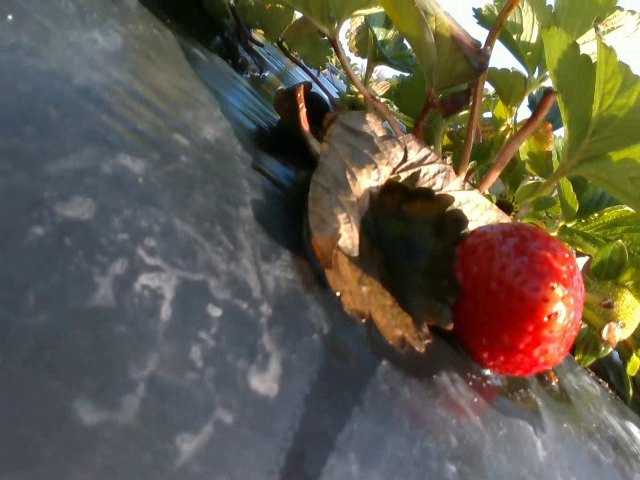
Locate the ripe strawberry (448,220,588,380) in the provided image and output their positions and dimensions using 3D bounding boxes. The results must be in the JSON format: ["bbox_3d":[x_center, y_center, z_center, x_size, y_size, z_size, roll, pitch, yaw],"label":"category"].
[{"bbox_3d":[0.042,0.015,0.124,0.037,0.047,0.054,-33,-2,9],"label":"ripe strawberry"}]
